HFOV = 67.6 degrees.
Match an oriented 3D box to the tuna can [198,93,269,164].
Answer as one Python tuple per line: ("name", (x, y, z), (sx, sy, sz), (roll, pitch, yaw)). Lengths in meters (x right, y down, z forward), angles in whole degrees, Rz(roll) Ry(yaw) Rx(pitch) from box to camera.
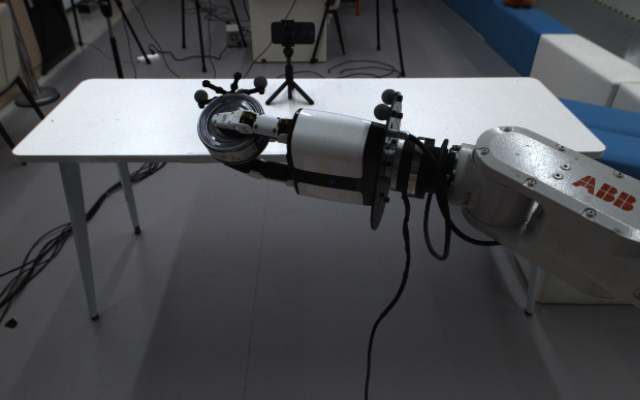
("tuna can", (-0.103, -0.084, 0.596), (0.085, 0.034, 0.085), (-4, 68, 9))
